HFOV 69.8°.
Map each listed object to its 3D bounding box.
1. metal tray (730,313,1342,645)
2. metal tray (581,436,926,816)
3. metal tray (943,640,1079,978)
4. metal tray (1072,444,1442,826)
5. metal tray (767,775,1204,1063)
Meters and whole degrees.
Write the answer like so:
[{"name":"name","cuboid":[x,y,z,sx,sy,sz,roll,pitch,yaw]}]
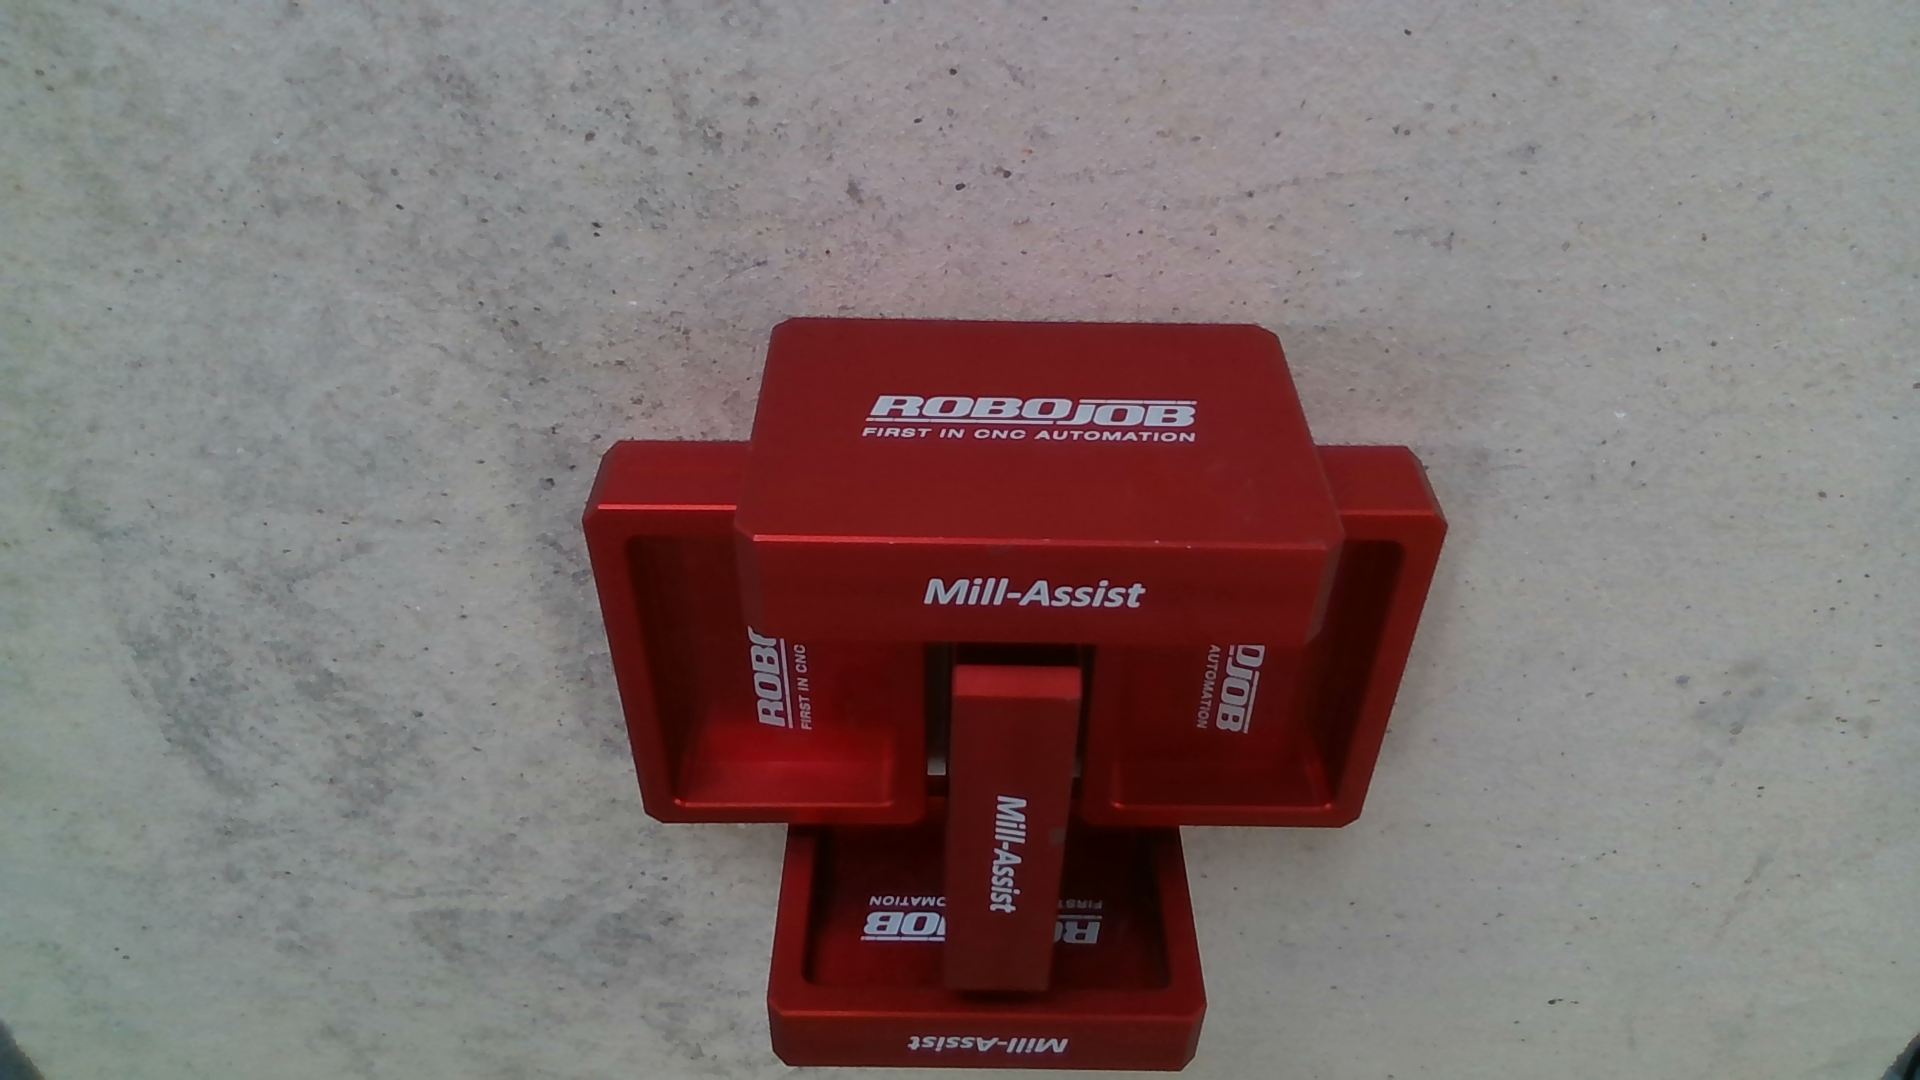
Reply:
[{"name":"metal tray","cuboid":[0.016,-0.018,0.332,0.130,0.090,0.030,1,131,0]},{"name":"metal tray","cuboid":[-0.056,0.030,0.413,0.090,0.030,0.130,0,130,-1]},{"name":"metal tray","cuboid":[0.012,0.051,0.391,0.030,0.090,0.130,2,130,0]},{"name":"metal tray","cuboid":[0.082,0.032,0.412,0.090,0.030,0.130,2,130,2]},{"name":"metal tray","cuboid":[0.007,0.121,0.448,0.130,0.090,0.030,1,130,-1]}]
